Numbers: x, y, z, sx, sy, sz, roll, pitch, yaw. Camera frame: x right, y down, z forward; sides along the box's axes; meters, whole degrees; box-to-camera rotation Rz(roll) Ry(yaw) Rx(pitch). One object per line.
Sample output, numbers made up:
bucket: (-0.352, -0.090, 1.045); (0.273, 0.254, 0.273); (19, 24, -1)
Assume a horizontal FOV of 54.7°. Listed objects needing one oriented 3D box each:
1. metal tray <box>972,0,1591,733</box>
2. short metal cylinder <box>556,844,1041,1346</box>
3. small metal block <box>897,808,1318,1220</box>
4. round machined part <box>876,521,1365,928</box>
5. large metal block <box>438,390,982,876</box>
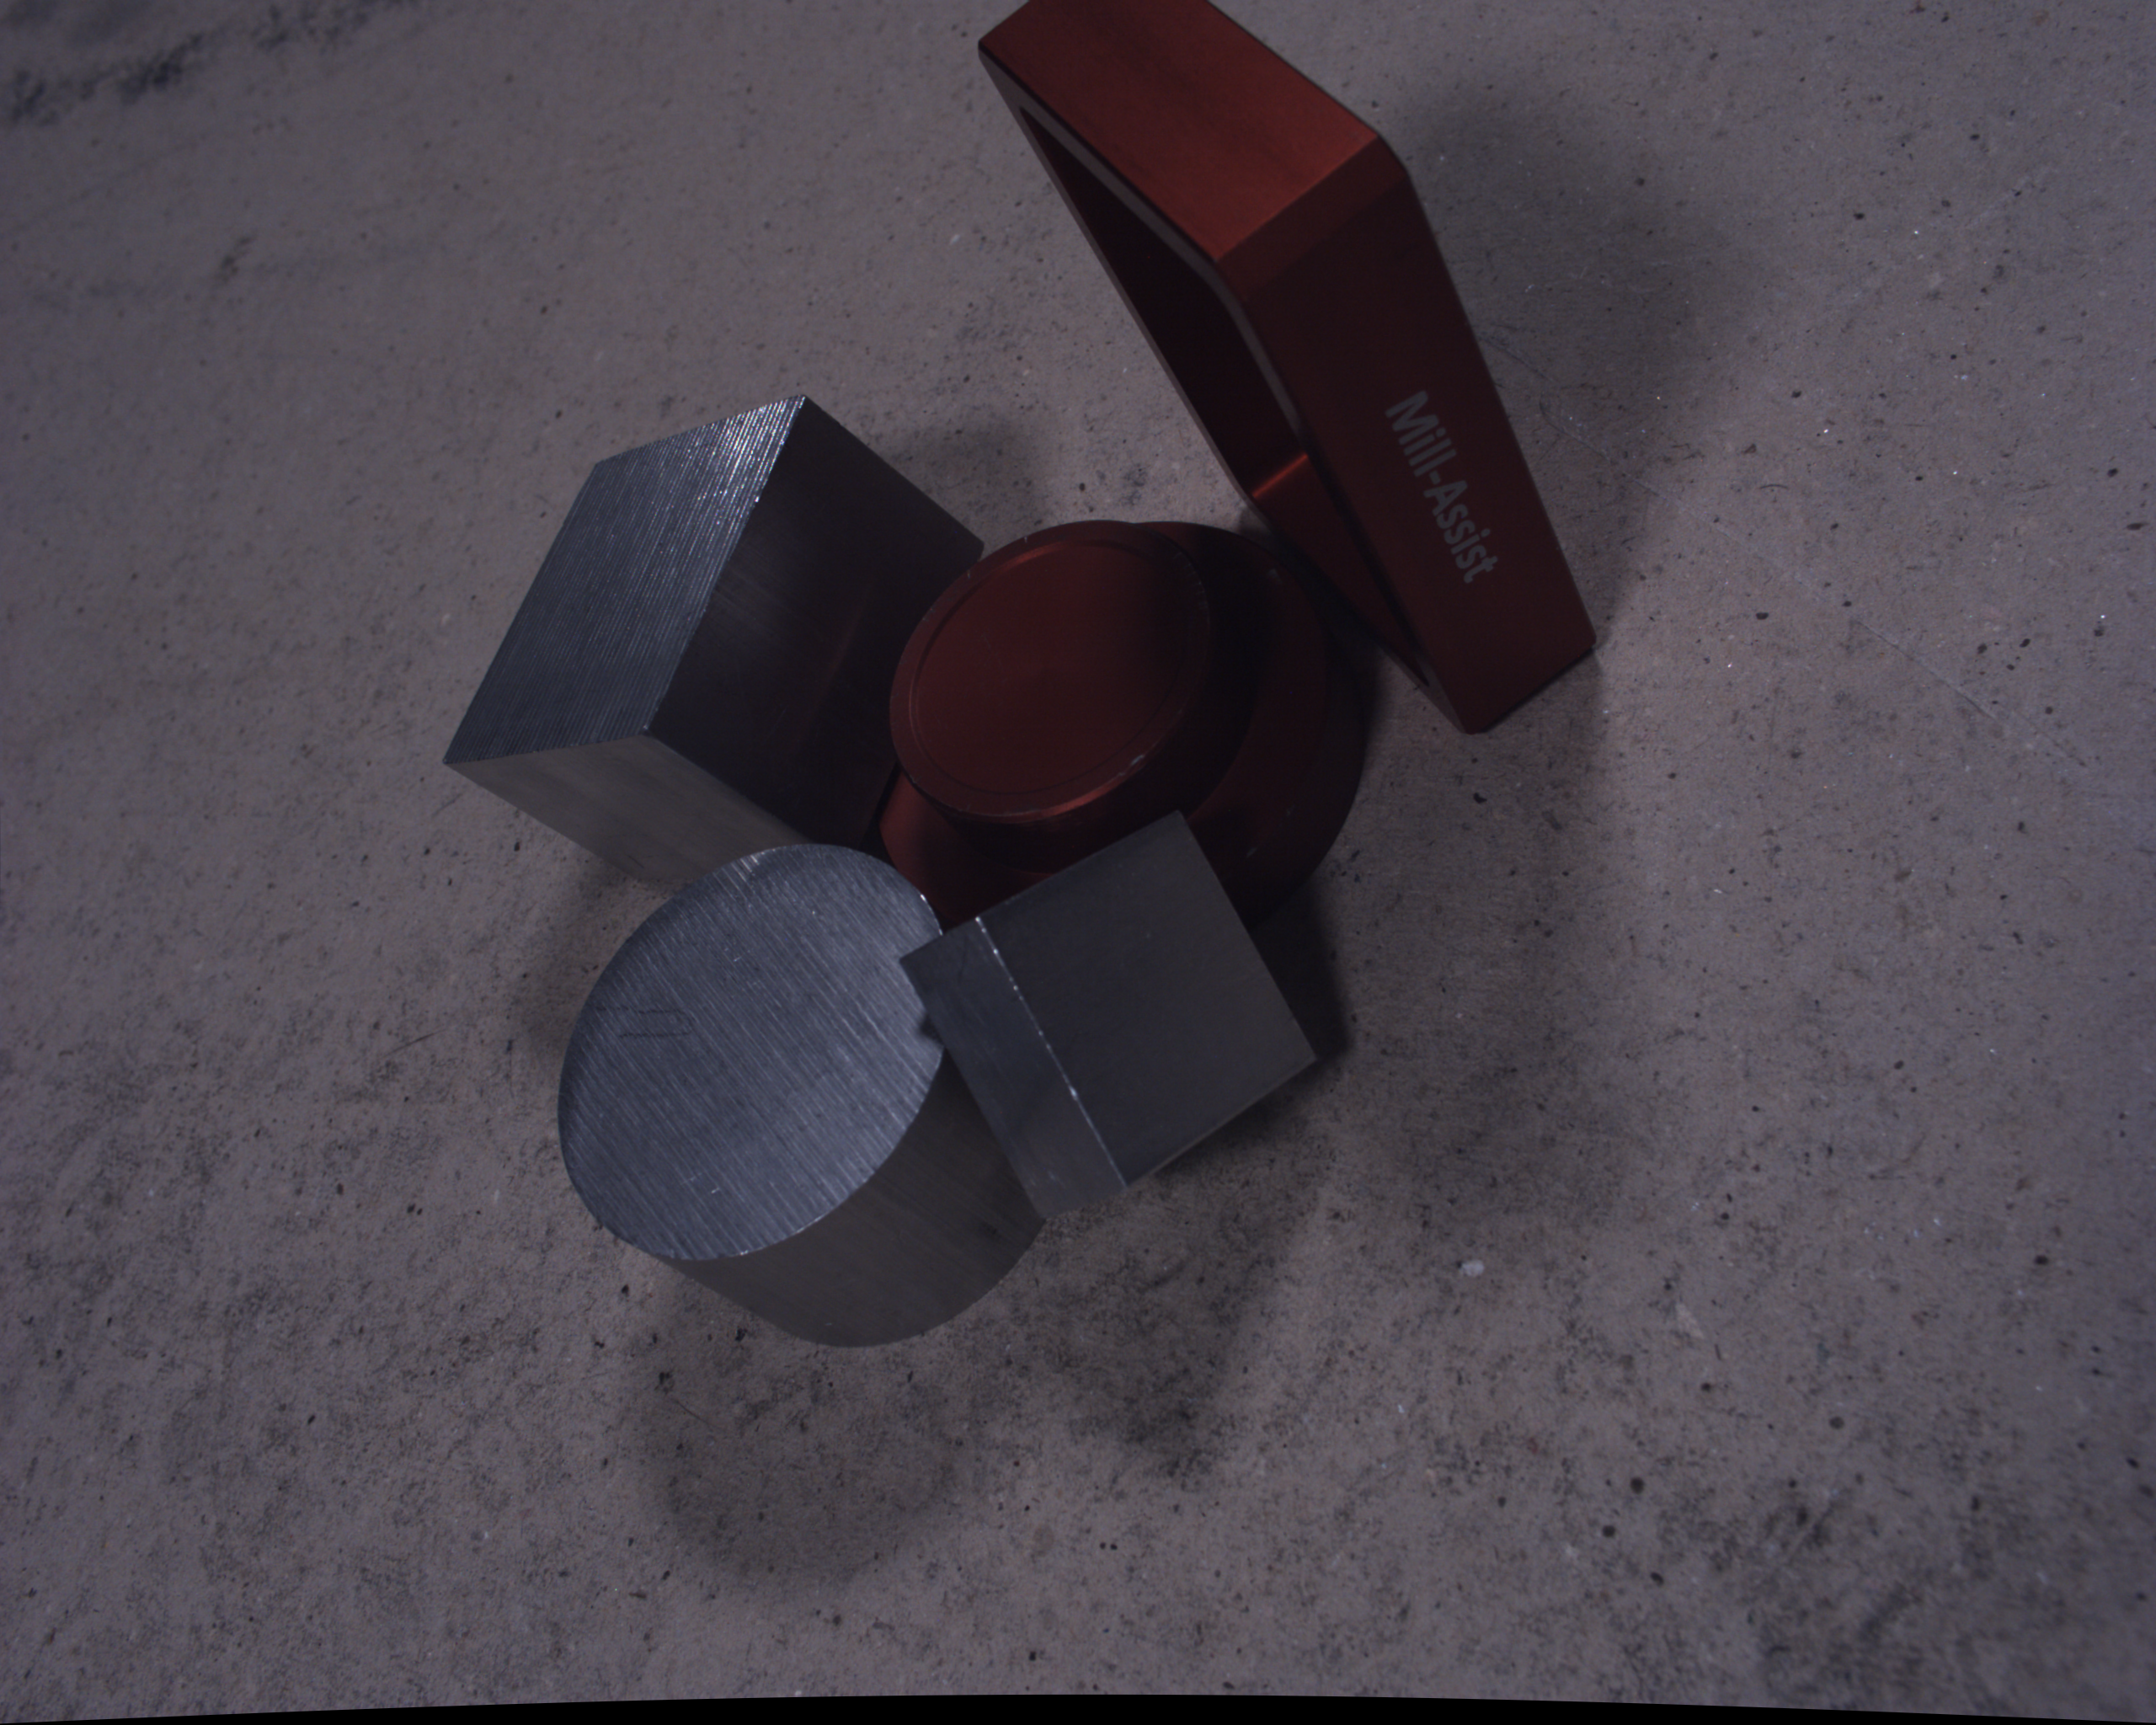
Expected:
metal tray: (0.039, -0.089, 0.370); (0.030, 0.130, 0.090); (-38, 51, 3)
short metal cylinder: (-0.048, 0.043, 0.387); (0.080, 0.050, 0.080); (-13, 56, 20)
small metal block: (0.006, 0.025, 0.356); (0.025, 0.050, 0.050); (-29, 89, 49)
round machined part: (0.003, -0.028, 0.410); (0.098, 0.042, 0.098); (-13, 56, 20)
large metal block: (-0.077, -0.045, 0.440); (0.080, 0.050, 0.080); (-3, 59, 46)
